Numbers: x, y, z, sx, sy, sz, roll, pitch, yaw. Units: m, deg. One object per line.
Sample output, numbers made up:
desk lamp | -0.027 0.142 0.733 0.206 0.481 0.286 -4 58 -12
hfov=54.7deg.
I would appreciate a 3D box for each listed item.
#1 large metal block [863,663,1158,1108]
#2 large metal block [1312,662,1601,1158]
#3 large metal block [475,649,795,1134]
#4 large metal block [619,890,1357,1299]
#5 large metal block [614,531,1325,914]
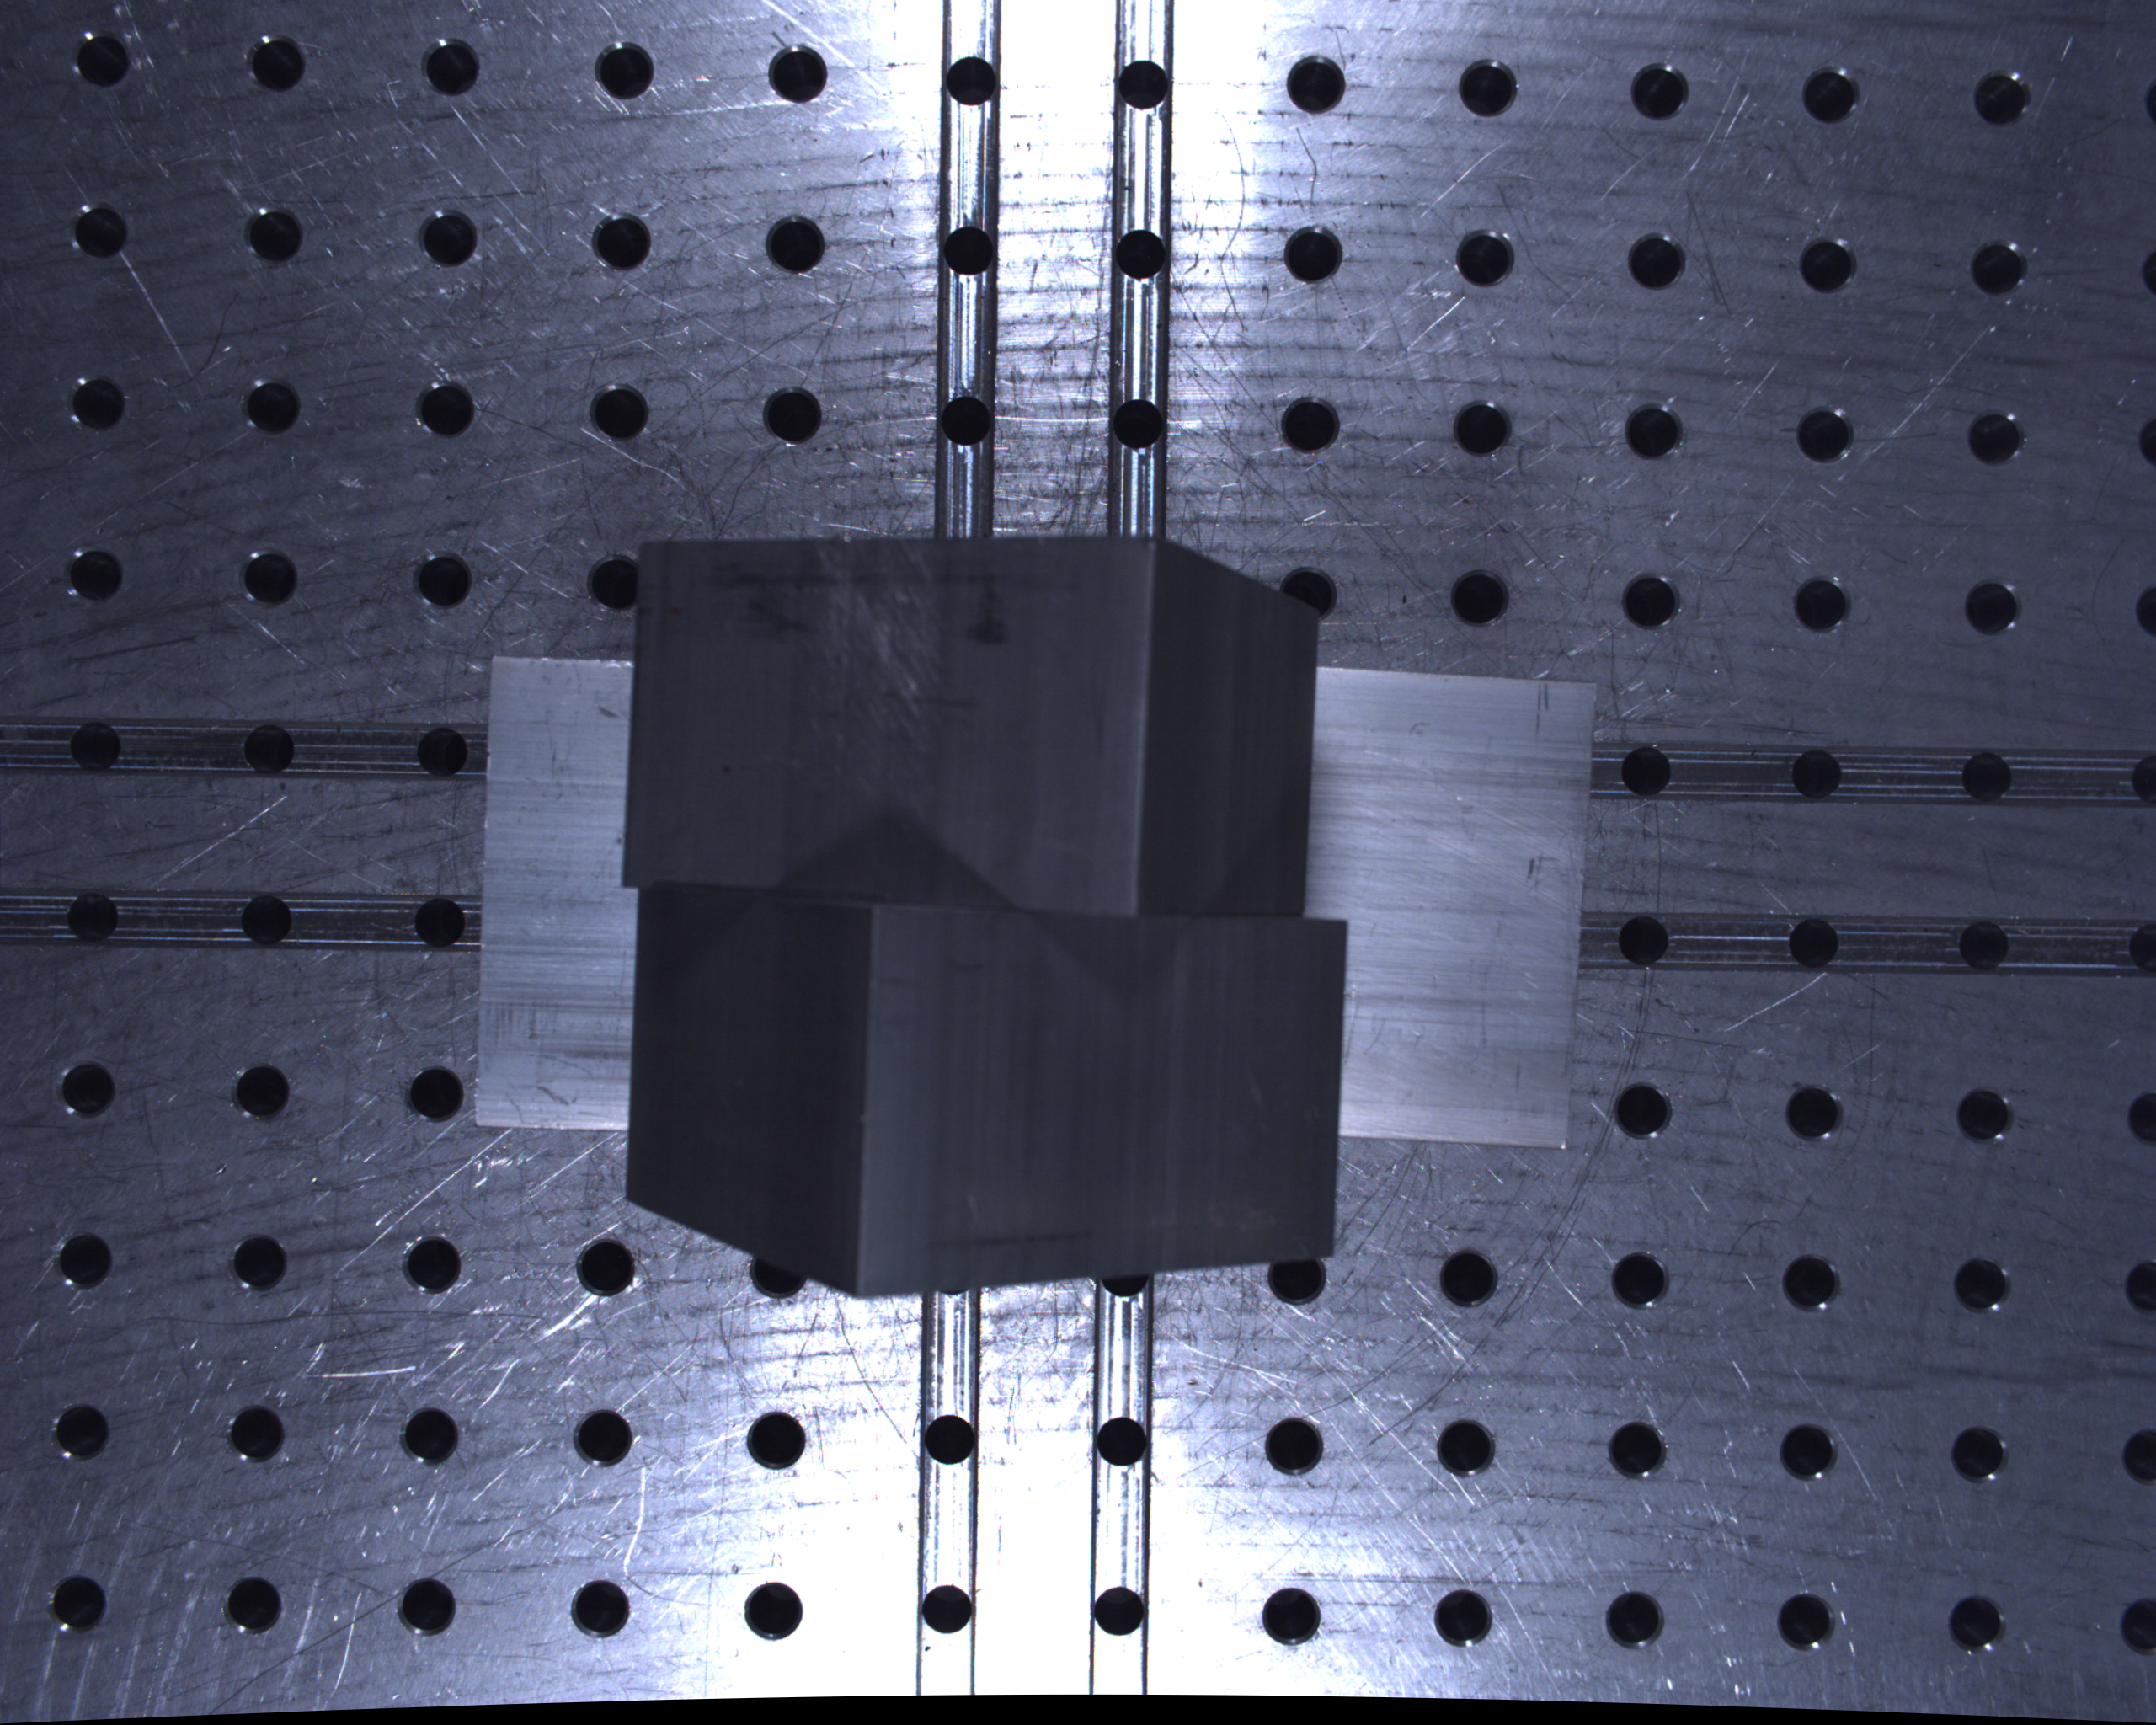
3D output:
large metal block | -0.006 0.005 0.399 0.081 0.050 0.079 3 90 -1
large metal block | 0.059 0.008 0.386 0.050 0.080 0.079 4 90 0
large metal block | -0.073 0.005 0.385 0.050 0.080 0.079 2 90 0
large metal block | -0.016 0.031 0.319 0.081 0.080 0.050 3 90 -34
large metal block | -0.013 -0.019 0.322 0.080 0.080 0.050 3 90 22
